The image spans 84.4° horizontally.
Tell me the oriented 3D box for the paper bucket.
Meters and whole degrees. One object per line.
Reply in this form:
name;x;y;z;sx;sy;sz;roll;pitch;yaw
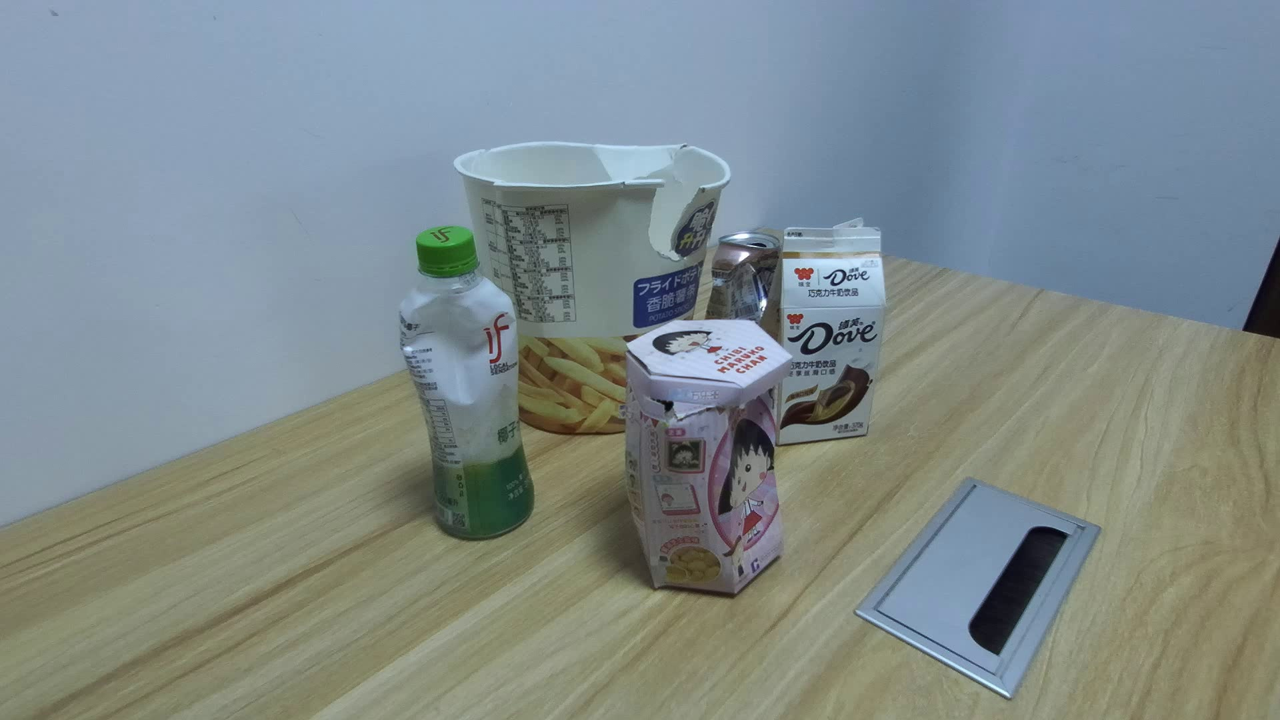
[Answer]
paper bucket;-0.037;-0.060;0.555;0.202;0.197;0.145;0;28;5

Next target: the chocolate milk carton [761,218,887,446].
chocolate milk carton;0.126;-0.024;0.520;0.084;0.155;0.073;-7;29;-10

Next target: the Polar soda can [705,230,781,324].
Polar soda can;0.098;-0.057;0.633;0.070;0.114;0.074;5;29;2

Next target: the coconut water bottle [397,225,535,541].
coconut water bottle;-0.103;0.015;0.424;0.069;0.187;0.069;0;25;0

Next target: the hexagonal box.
hexagonal box;0.035;0.054;0.400;0.091;0.134;0.090;-5;24;-5
